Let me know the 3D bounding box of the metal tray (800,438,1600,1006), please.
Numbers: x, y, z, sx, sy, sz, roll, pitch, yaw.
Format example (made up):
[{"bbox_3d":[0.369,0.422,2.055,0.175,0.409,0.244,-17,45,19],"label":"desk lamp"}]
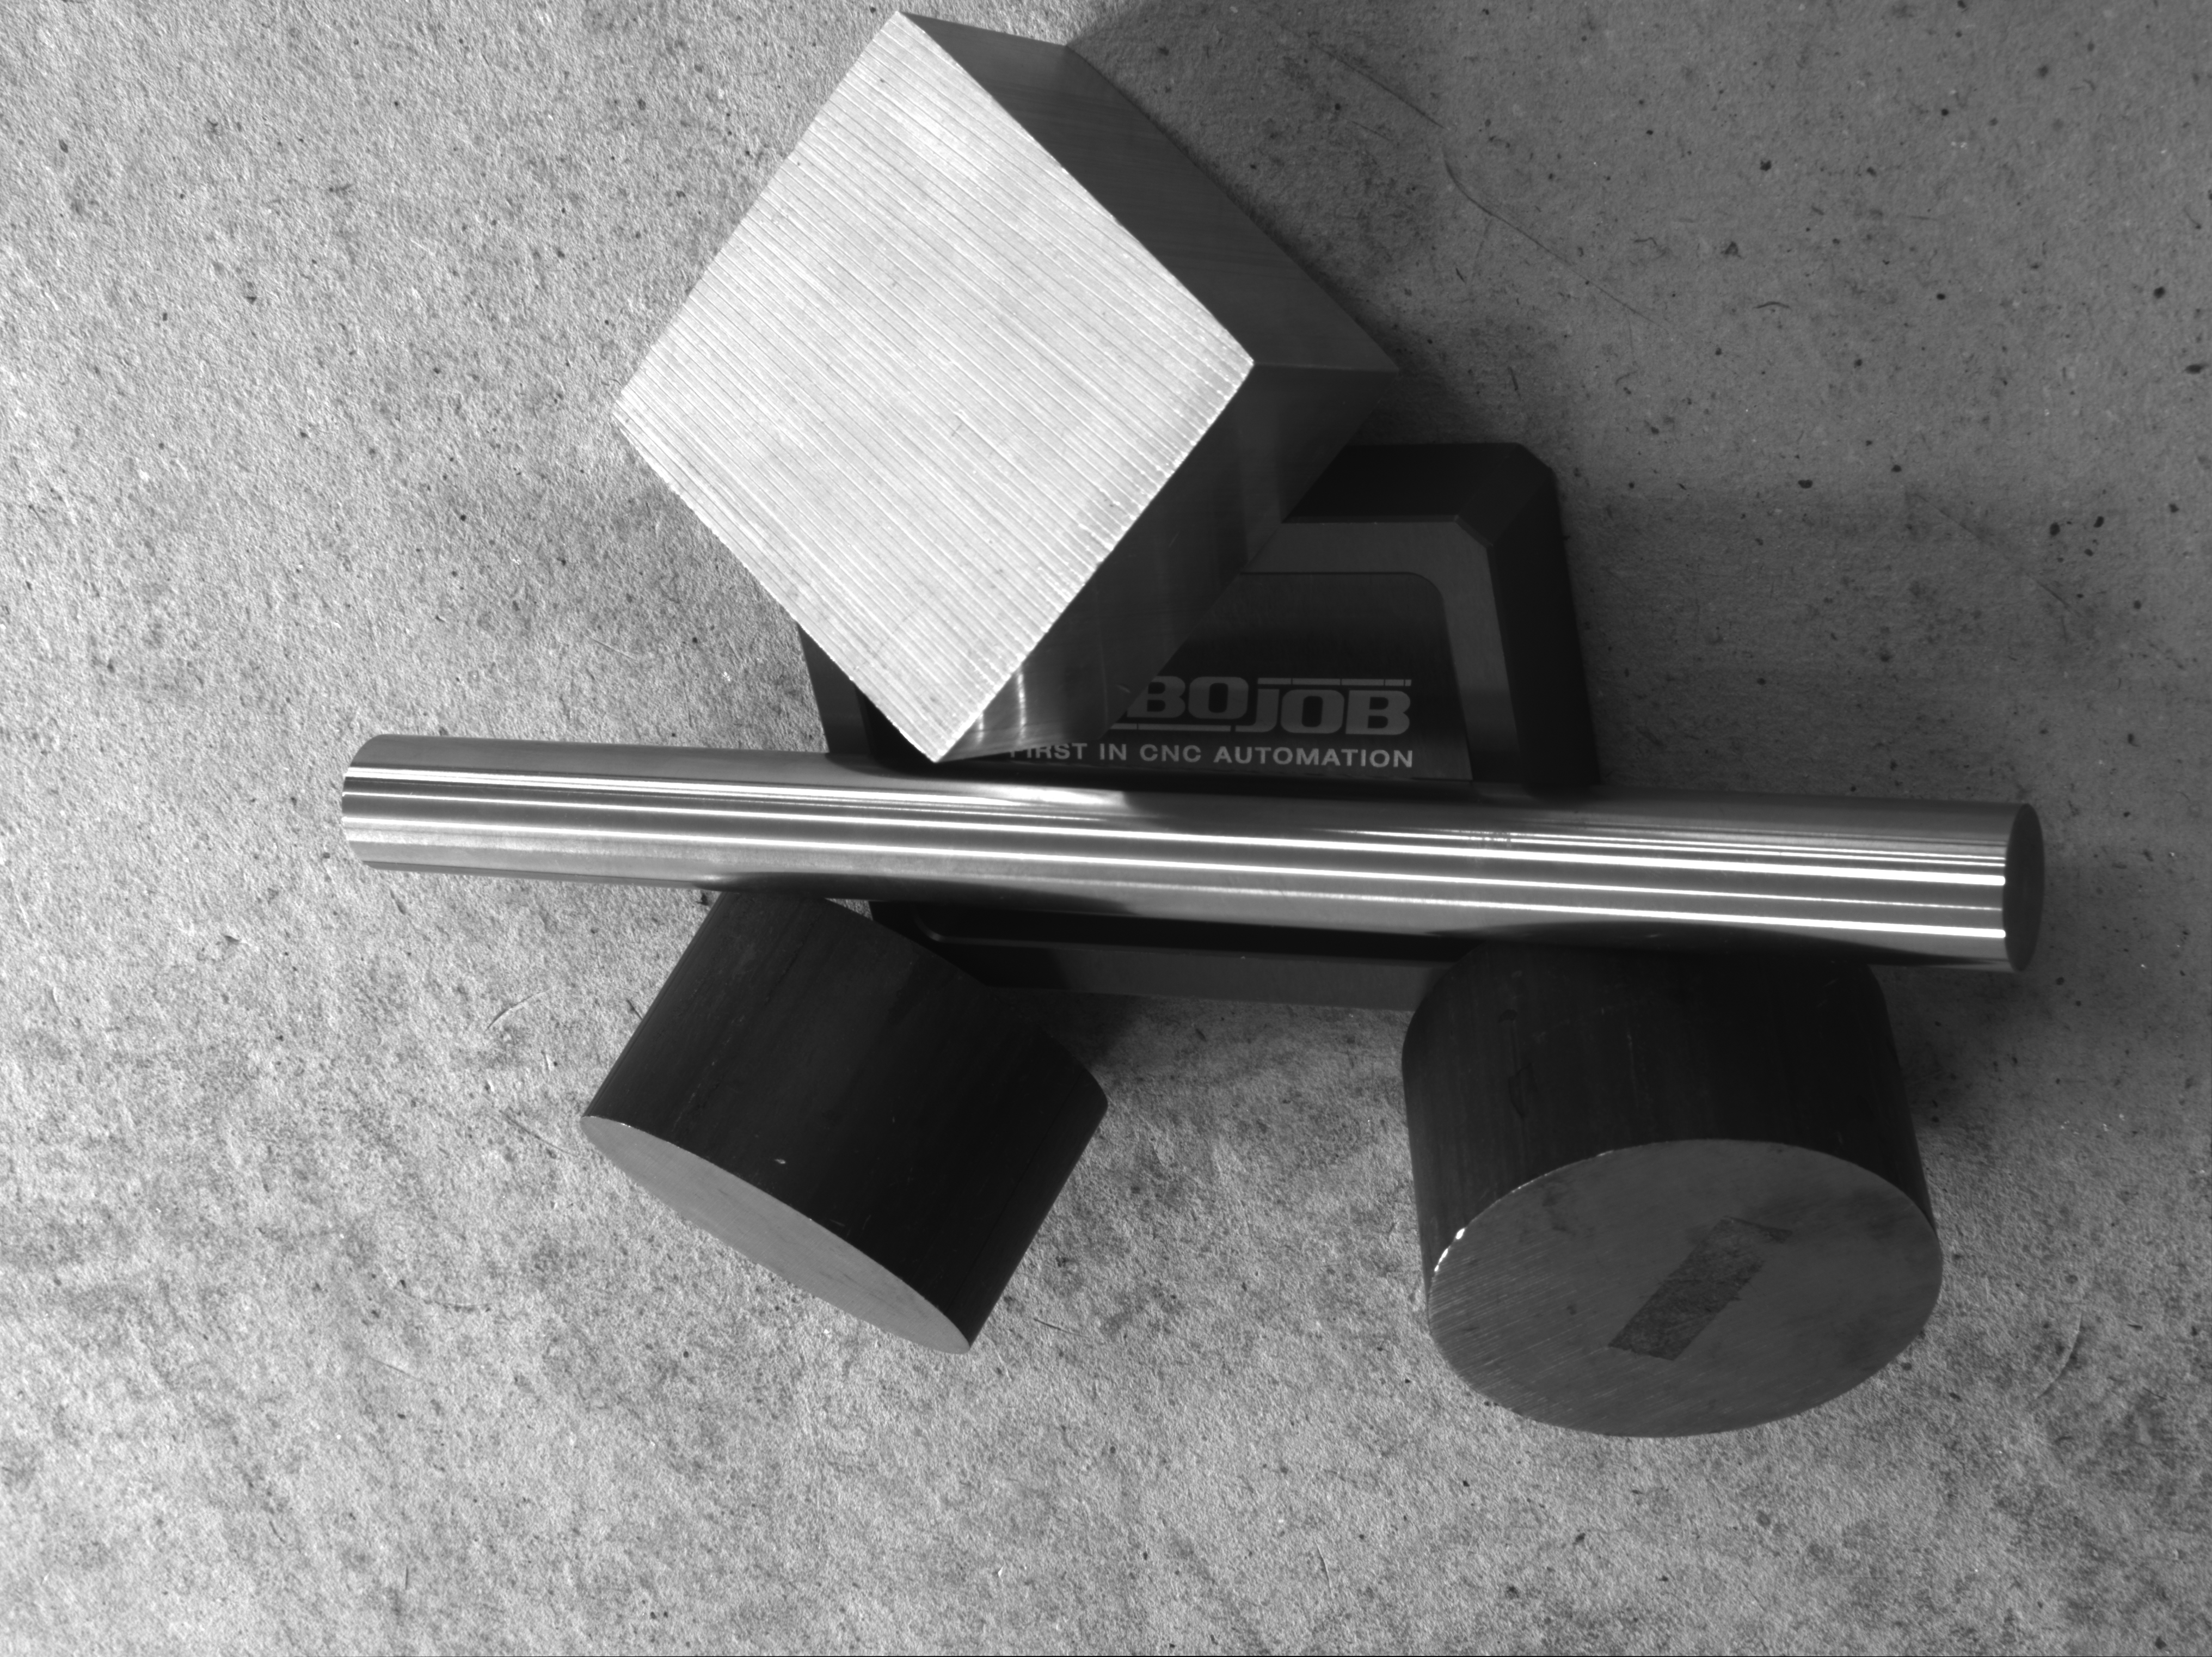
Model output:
[{"bbox_3d":[0.015,-0.018,0.621,0.130,0.030,0.090,2,119,27],"label":"metal tray"}]

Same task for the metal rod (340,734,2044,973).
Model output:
[{"bbox_3d":[0.001,0.002,0.605,0.299,0.025,0.025,3,120,27],"label":"metal rod"}]

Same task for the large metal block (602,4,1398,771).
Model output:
[{"bbox_3d":[-0.017,-0.067,0.567,0.080,0.050,0.080,47,114,16],"label":"large metal block"}]

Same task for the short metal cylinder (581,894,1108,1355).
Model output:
[{"bbox_3d":[-0.047,0.052,0.660,0.080,0.050,0.080,28,163,9],"label":"short metal cylinder"}]

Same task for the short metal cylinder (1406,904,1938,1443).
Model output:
[{"bbox_3d":[0.090,0.055,0.592,0.080,0.050,0.080,0,137,0],"label":"short metal cylinder"}]
